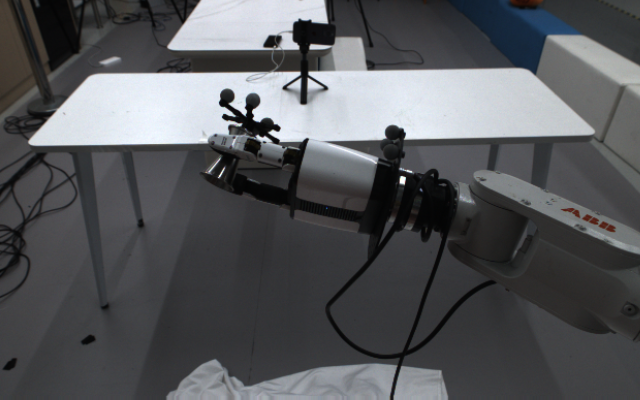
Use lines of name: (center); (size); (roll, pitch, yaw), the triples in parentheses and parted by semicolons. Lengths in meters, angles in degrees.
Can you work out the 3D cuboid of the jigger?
jigger: (-0.106, -0.052, 0.569); (0.043, 0.043, 0.071); (20, 72, 23)
